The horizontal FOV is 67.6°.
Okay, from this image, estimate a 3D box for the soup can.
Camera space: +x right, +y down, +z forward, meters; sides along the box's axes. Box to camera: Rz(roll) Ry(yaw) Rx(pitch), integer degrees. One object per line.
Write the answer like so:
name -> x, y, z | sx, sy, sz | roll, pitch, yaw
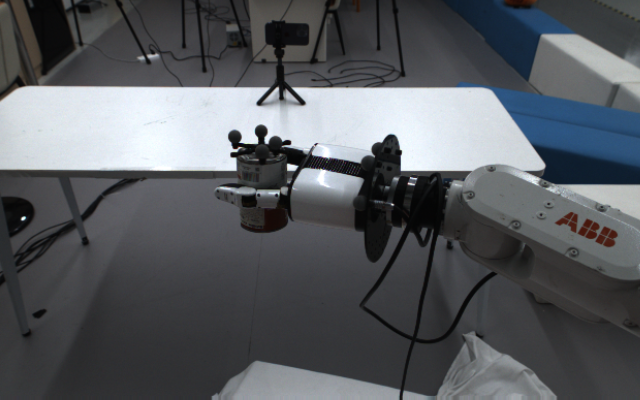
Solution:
soup can -> -0.076, -0.015, 0.648 | 0.067, 0.101, 0.067 | 1, 25, 0
